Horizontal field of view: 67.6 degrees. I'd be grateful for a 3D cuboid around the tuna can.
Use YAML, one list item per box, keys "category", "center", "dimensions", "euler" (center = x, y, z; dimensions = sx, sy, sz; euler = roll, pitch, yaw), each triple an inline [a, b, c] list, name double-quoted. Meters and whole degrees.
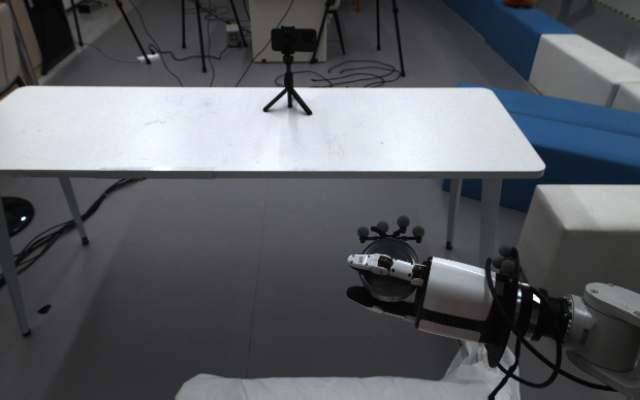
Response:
- category: "tuna can"
  center: [0.098, 0.097, 0.678]
  dimensions: [0.085, 0.034, 0.085]
  euler: [-6, 61, 10]
